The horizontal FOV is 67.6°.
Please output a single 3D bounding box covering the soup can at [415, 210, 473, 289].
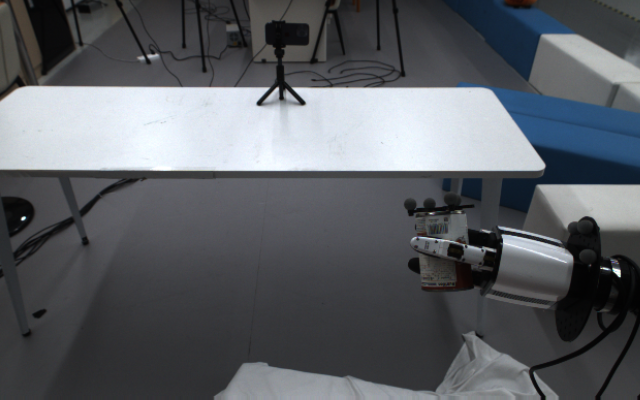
[{"bbox_3d":[0.167,0.067,0.644,0.067,0.101,0.067,-5,-5,0],"label":"soup can"}]
